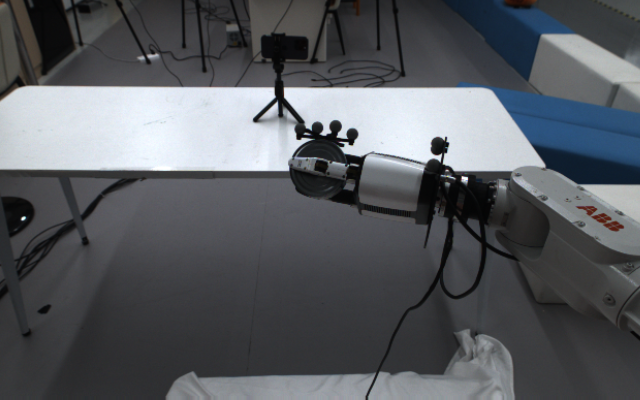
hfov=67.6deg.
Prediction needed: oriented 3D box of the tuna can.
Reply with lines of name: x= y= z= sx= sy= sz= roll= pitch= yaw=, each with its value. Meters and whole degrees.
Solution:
tuna can: x=0.000 y=-0.046 z=0.714 sx=0.085 sy=0.085 sz=0.034 roll=11 pitch=-7 yaw=13
